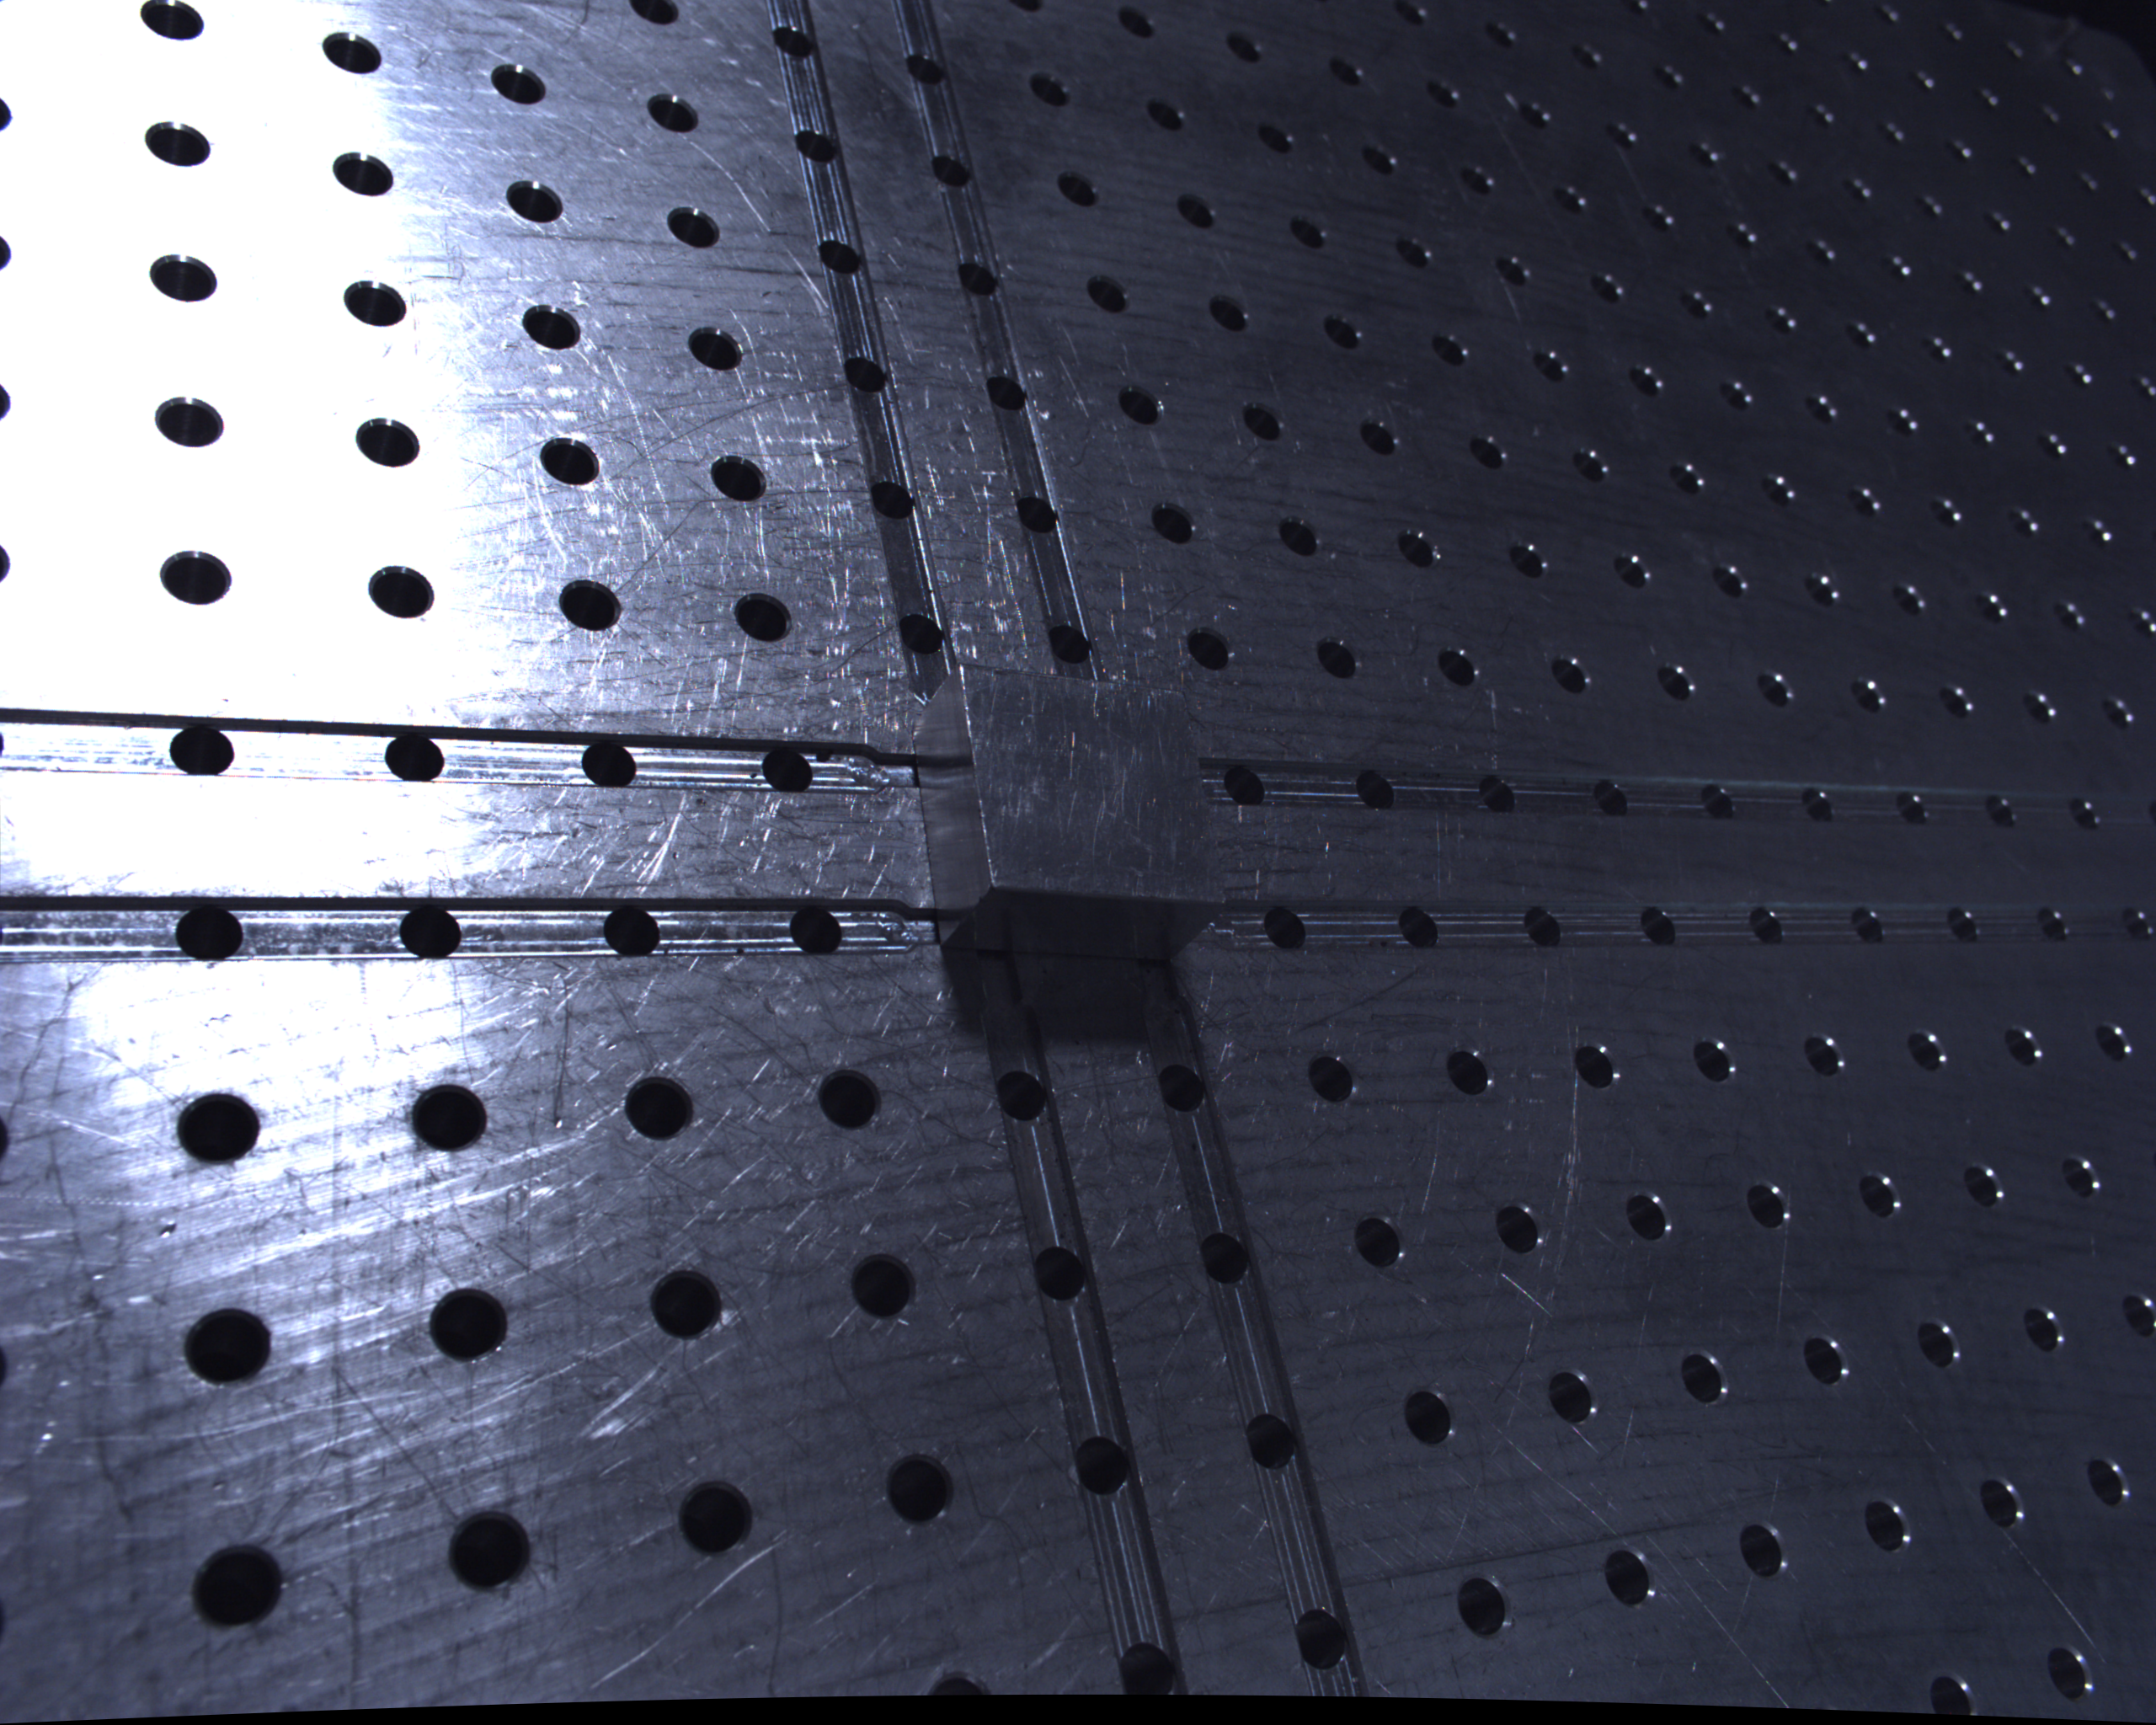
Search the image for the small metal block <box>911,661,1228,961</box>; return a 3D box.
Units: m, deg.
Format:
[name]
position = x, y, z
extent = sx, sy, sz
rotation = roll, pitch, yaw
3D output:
[small metal block]
position = -0.003, -0.009, 0.414
extent = 0.050, 0.025, 0.050
rotation = 5, 60, -26
